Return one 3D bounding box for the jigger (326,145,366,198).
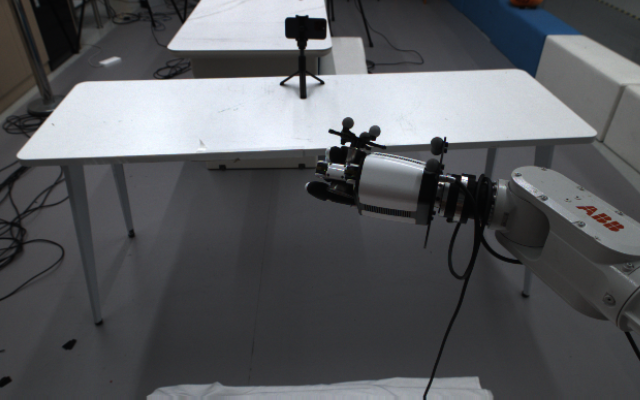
[{"bbox_3d":[0.040,-0.042,0.711,0.043,0.071,0.043,19,-6,2],"label":"jigger"}]
